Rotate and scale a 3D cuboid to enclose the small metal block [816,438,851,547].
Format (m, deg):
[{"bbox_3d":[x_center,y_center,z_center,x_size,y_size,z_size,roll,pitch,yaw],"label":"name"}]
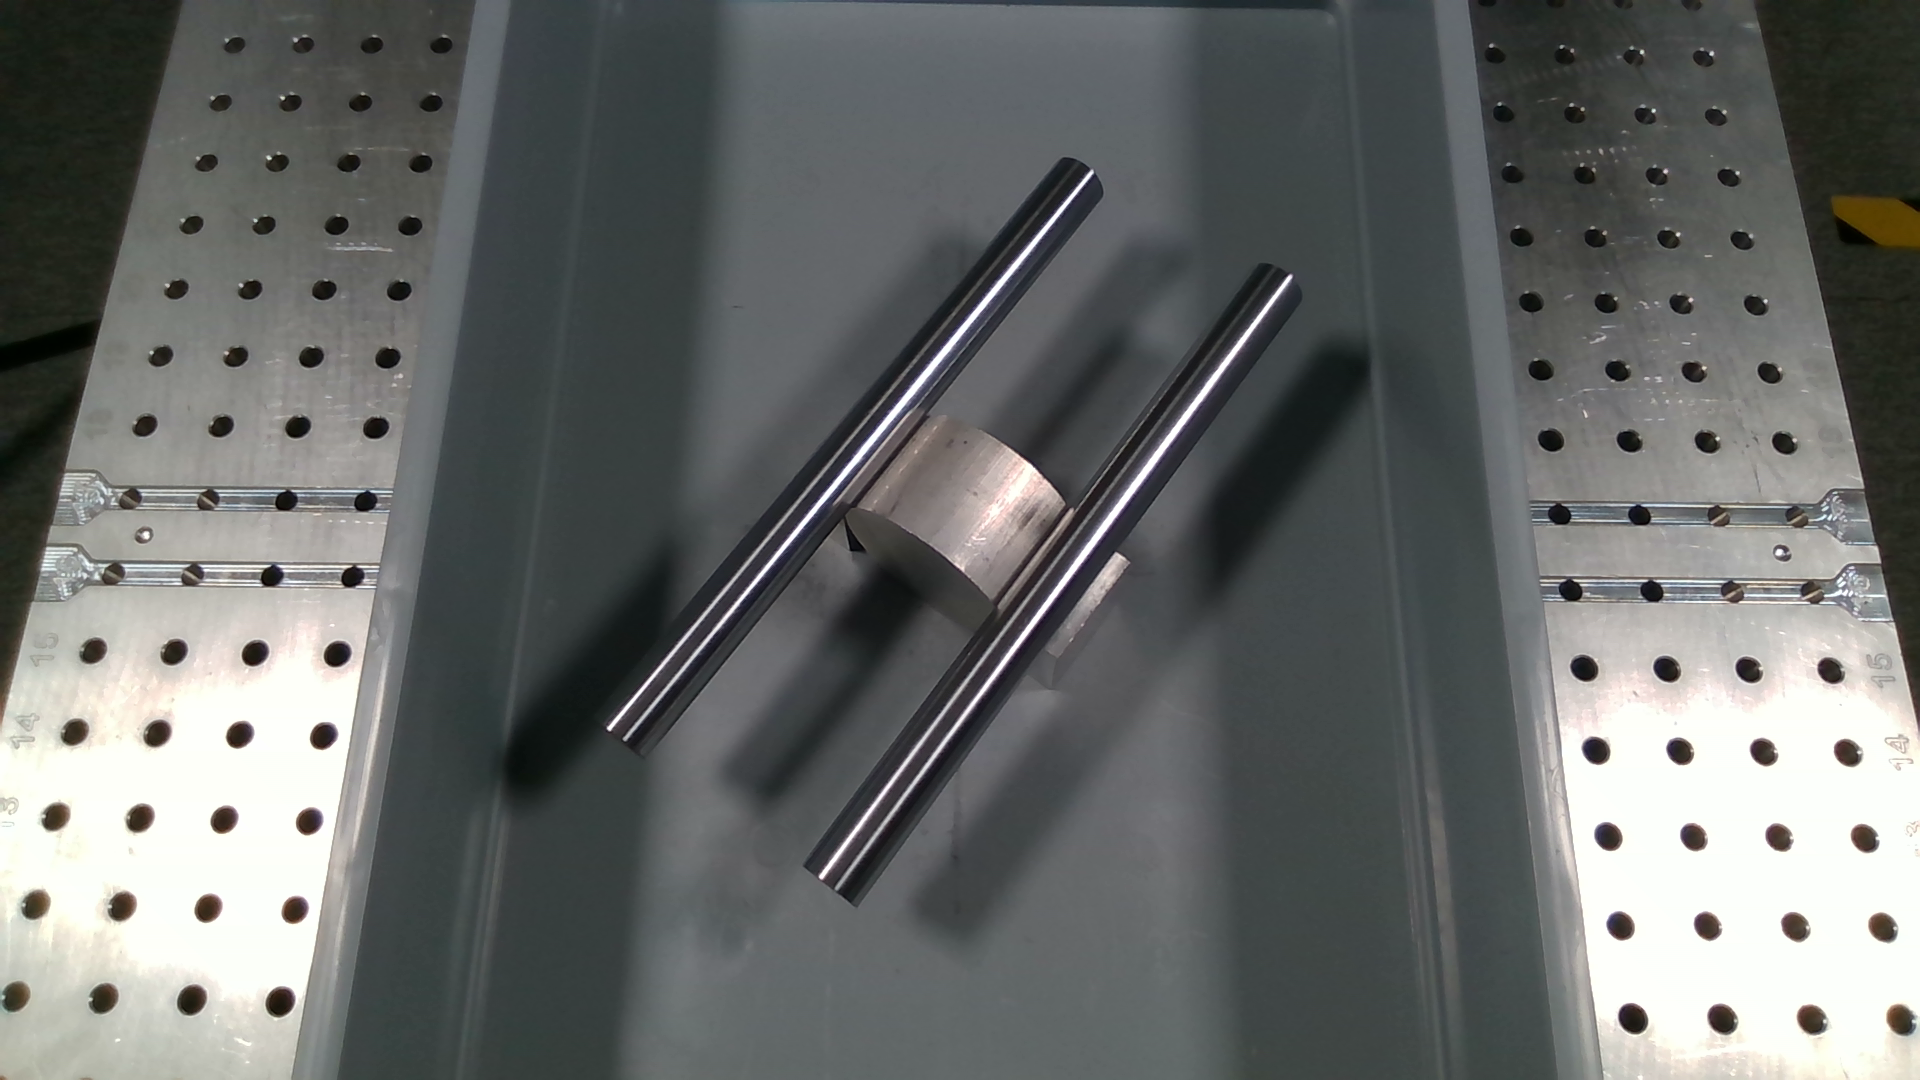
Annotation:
[{"bbox_3d":[-0.043,-0.030,0.584,0.025,0.050,0.050,35,74,12],"label":"small metal block"}]

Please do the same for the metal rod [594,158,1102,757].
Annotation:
[{"bbox_3d":[-0.037,-0.041,0.550,0.025,0.025,0.300,34,74,12],"label":"metal rod"}]

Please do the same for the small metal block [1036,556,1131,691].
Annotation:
[{"bbox_3d":[0.043,0.029,0.563,0.025,0.050,0.050,35,74,12],"label":"small metal block"}]

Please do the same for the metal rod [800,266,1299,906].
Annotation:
[{"bbox_3d":[0.041,0.009,0.531,0.025,0.025,0.300,35,74,12],"label":"metal rod"}]

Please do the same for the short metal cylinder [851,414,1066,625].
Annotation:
[{"bbox_3d":[0.000,-0.006,0.560,0.080,0.080,0.050,35,74,12],"label":"short metal cylinder"}]
